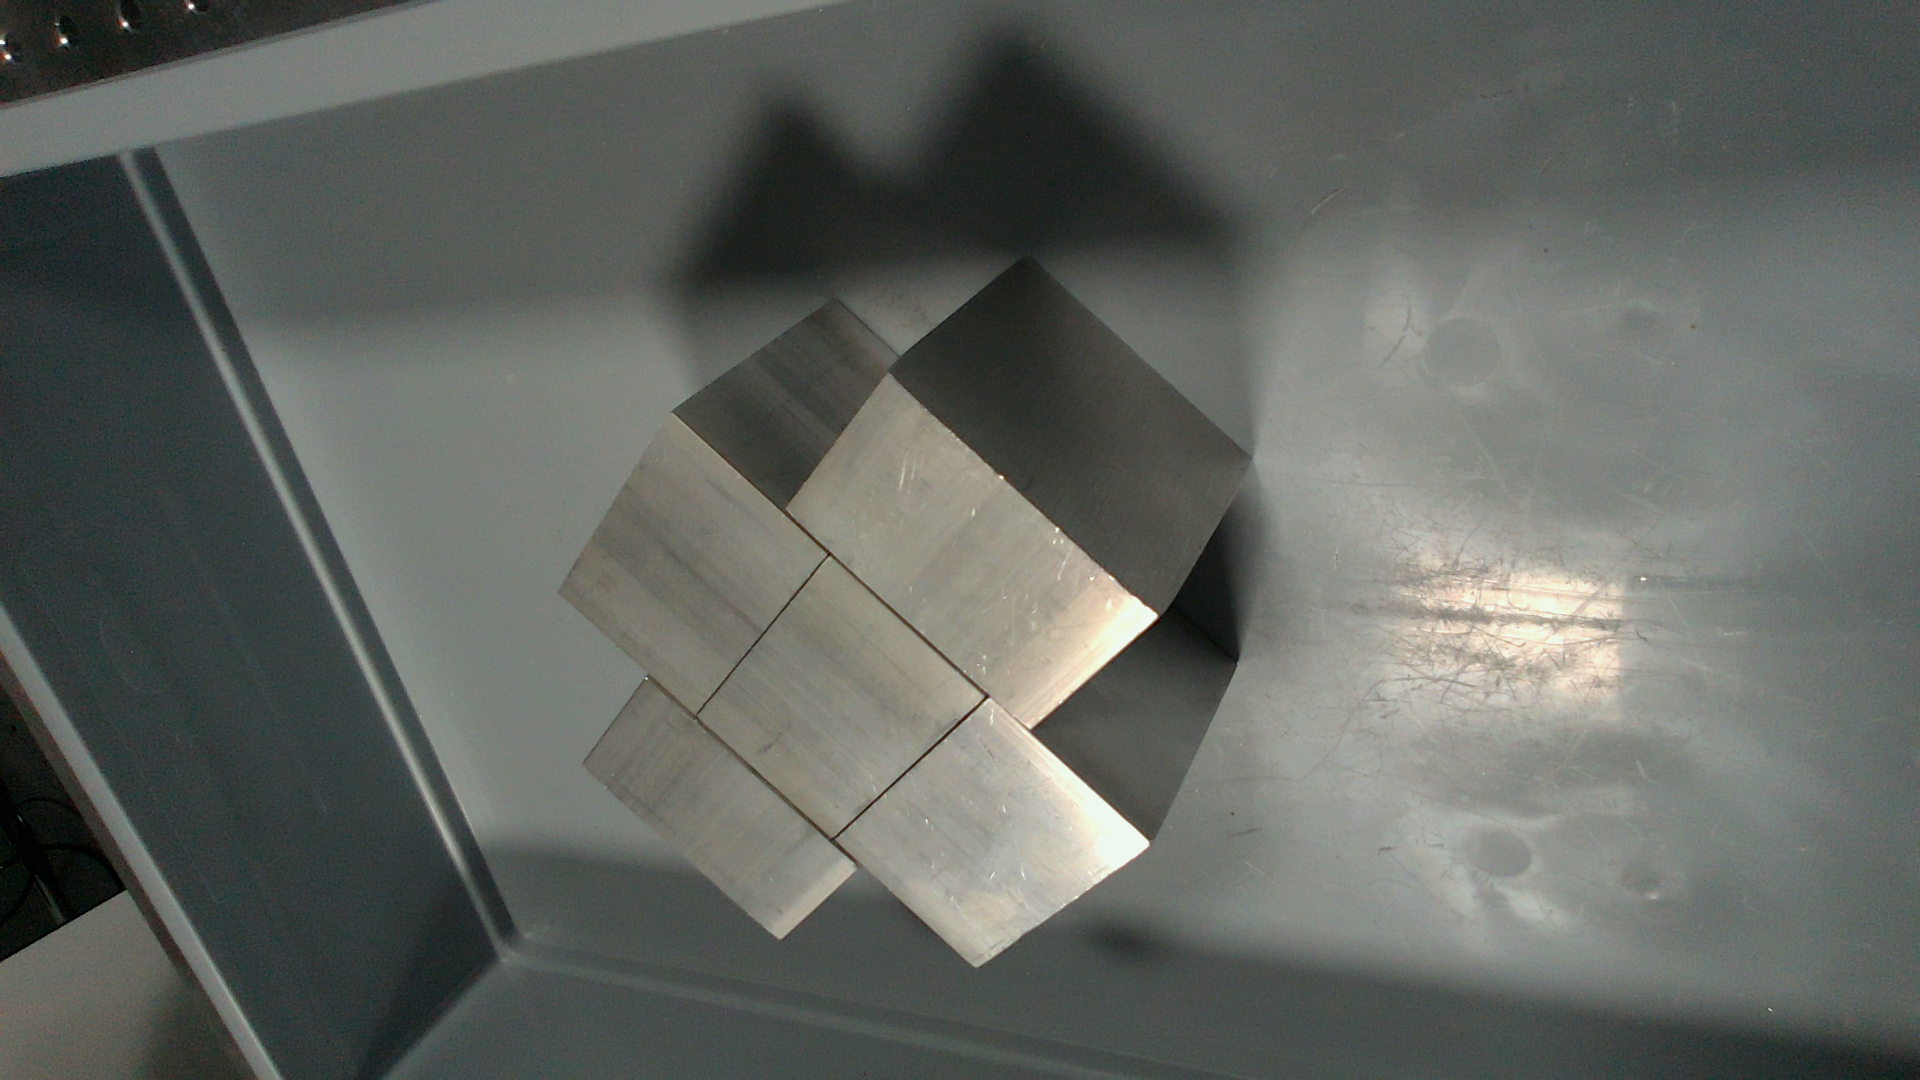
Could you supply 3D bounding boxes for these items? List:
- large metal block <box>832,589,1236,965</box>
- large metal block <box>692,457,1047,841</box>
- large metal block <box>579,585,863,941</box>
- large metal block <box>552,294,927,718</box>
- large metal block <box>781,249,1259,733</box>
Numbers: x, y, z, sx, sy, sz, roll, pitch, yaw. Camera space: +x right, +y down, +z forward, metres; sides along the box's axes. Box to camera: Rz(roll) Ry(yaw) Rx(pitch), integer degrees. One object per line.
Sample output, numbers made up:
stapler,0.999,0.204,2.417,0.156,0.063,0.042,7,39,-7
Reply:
large metal block,0.021,0.058,0.381,0.050,0.080,0.080,42,129,-1
large metal block,-0.017,0.023,0.380,0.050,0.080,0.080,42,129,-1
large metal block,-0.053,0.059,0.422,0.080,0.080,0.050,42,129,-1
large metal block,-0.054,-0.010,0.379,0.050,0.080,0.080,42,129,-1
large metal block,0.017,-0.015,0.338,0.080,0.080,0.050,42,129,-1
